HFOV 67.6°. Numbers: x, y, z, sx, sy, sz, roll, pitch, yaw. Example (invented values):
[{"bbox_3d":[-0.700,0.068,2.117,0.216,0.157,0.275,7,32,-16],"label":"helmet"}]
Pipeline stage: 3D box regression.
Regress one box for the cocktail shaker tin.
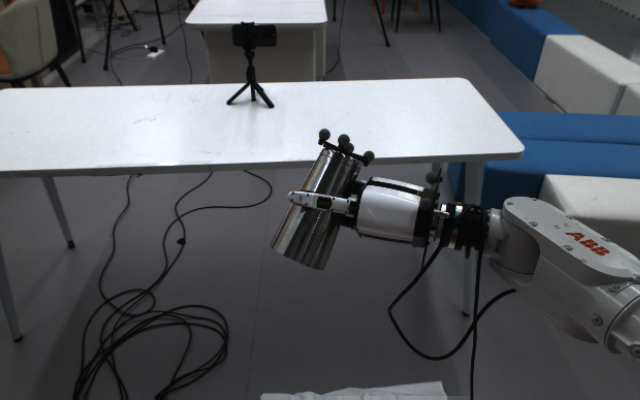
[{"bbox_3d":[0.000,0.009,0.741,0.093,0.170,0.093,23,0,0],"label":"cocktail shaker tin"}]
